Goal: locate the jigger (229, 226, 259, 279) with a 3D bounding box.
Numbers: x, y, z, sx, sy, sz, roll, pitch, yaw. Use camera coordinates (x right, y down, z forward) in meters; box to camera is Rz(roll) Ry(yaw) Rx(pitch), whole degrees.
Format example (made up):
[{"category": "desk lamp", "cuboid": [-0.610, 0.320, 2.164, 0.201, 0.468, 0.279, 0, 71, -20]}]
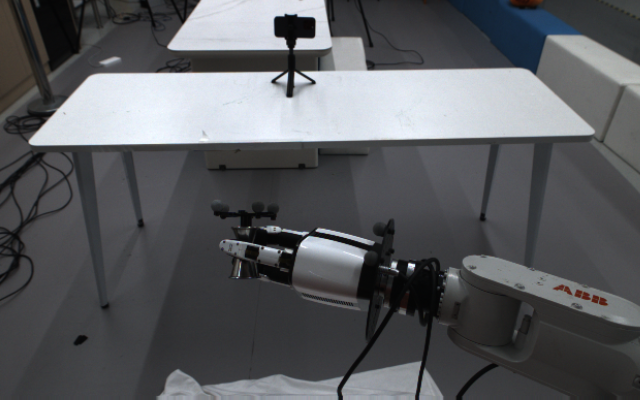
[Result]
[{"category": "jigger", "cuboid": [-0.101, 0.070, 0.650, 0.043, 0.071, 0.043, 1, -5, 0]}]
